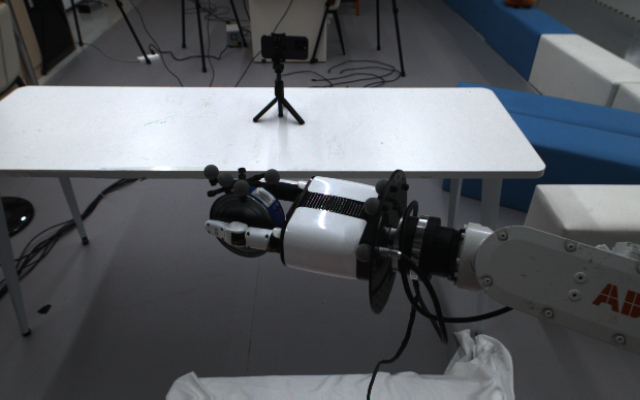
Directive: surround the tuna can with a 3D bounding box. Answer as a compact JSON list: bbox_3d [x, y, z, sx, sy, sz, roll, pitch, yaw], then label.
[{"bbox_3d":[-0.084,0.023,0.577,0.085,0.085,0.034,14,29,16],"label":"tuna can"}]
